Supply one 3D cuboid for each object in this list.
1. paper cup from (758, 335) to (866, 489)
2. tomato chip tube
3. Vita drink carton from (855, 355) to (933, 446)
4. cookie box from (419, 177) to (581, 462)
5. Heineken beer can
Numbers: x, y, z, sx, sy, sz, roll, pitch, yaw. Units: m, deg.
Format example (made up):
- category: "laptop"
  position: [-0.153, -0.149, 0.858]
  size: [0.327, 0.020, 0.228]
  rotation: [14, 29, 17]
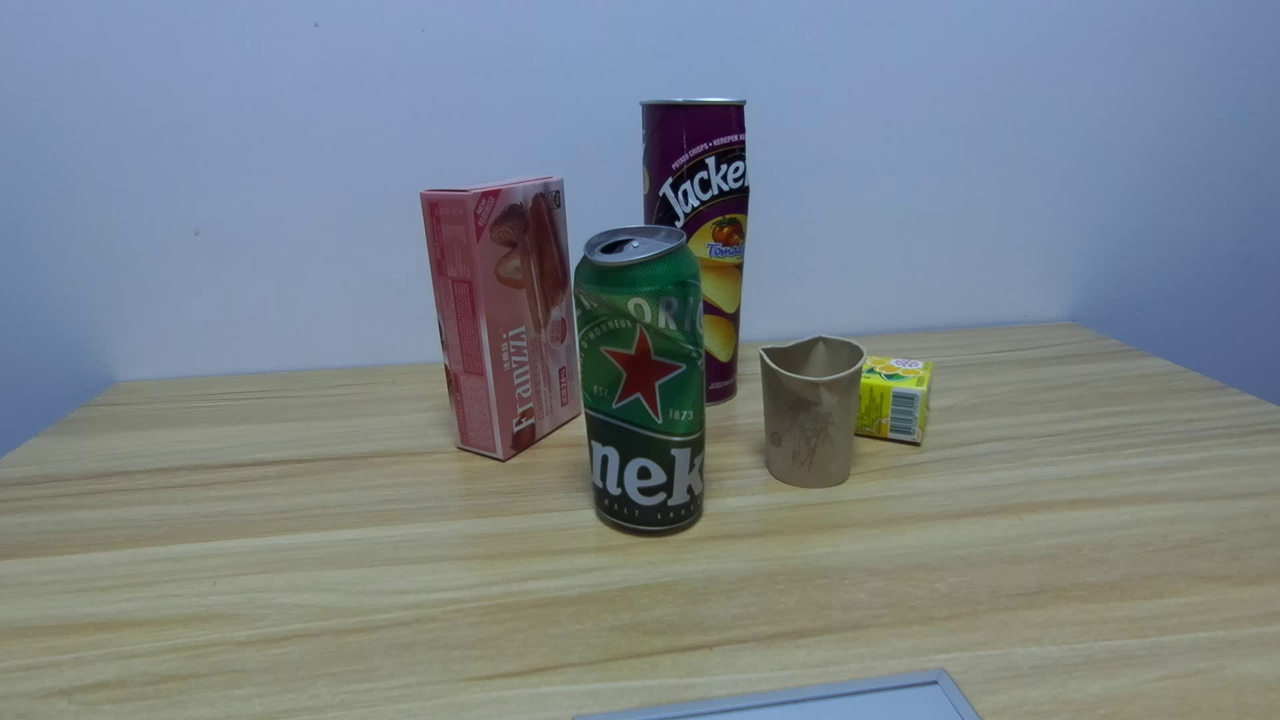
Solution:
- category: "paper cup"
  position: [0.115, 0.035, 0.458]
  size: [0.072, 0.084, 0.066]
  rotation: [-12, 21, -28]
- category: "tomato chip tube"
  position: [0.043, -0.085, 0.568]
  size: [0.076, 0.235, 0.077]
  rotation: [-3, 18, -4]
- category: "Vita drink carton"
  position: [0.163, 0.025, 0.541]
  size: [0.108, 0.043, 0.067]
  rotation: [7, 20, 24]
- category: "cookie box"
  position: [-0.094, -0.032, 0.511]
  size: [0.048, 0.184, 0.096]
  rotation: [9, 22, 29]
- category: "Heineken beer can"
  position: [0.002, 0.015, 0.401]
  size: [0.069, 0.168, 0.068]
  rotation: [-6, 22, -5]
